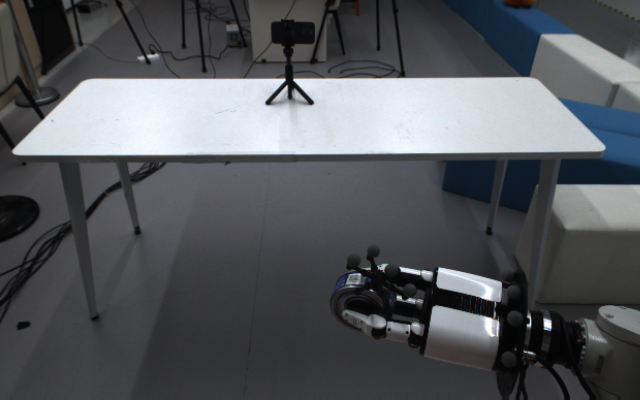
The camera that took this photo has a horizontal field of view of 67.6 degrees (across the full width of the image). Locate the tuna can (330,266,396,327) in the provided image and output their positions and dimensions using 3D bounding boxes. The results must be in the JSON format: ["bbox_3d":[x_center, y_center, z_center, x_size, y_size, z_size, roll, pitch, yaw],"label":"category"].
[{"bbox_3d":[0.061,0.143,0.643,0.085,0.085,0.034,12,35,14],"label":"tuna can"}]
